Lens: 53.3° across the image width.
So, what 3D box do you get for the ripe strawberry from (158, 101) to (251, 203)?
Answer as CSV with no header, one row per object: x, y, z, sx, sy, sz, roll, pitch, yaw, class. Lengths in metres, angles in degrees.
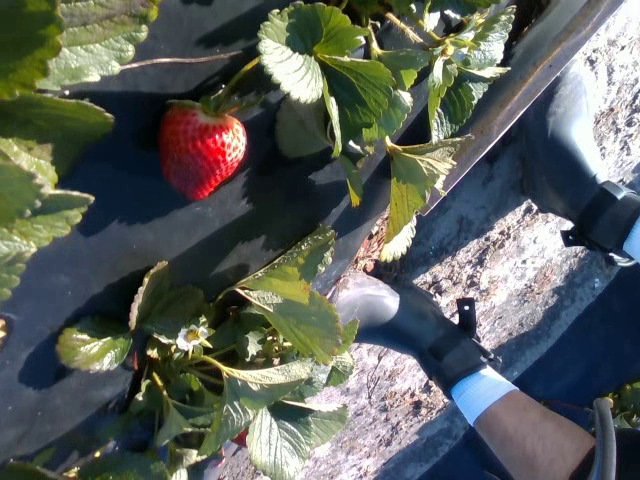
-0.055,-0.042,0.286,0.044,0.056,0.042,20,19,1,ripe strawberry
